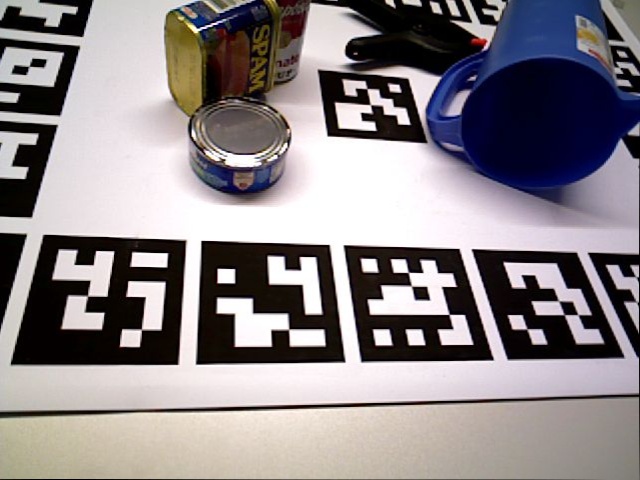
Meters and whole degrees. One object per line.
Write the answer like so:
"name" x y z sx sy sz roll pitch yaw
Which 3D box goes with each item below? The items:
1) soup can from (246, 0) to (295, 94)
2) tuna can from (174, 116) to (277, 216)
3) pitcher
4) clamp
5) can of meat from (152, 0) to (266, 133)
"soup can" -0.061 -0.203 0.526 0.067 0.104 0.067 4 57 -7
"tuna can" -0.081 -0.063 0.465 0.085 0.034 0.084 5 57 -9
"pitcher" 0.210 -0.162 0.529 0.189 0.136 0.237 5 44 19
"clamp" 0.079 -0.221 0.619 0.163 0.037 0.120 6 51 -13
"can of meat" -0.099 -0.151 0.476 0.082 0.104 0.057 -33 69 -26
